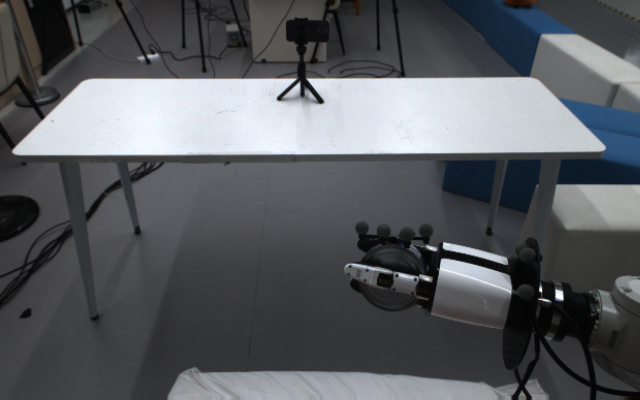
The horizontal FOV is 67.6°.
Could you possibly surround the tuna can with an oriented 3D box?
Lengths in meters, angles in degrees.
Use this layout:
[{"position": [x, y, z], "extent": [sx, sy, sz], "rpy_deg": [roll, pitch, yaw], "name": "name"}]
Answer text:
[{"position": [0.094, 0.094, 0.611], "extent": [0.085, 0.085, 0.034], "rpy_deg": [12, 8, 15], "name": "tuna can"}]
